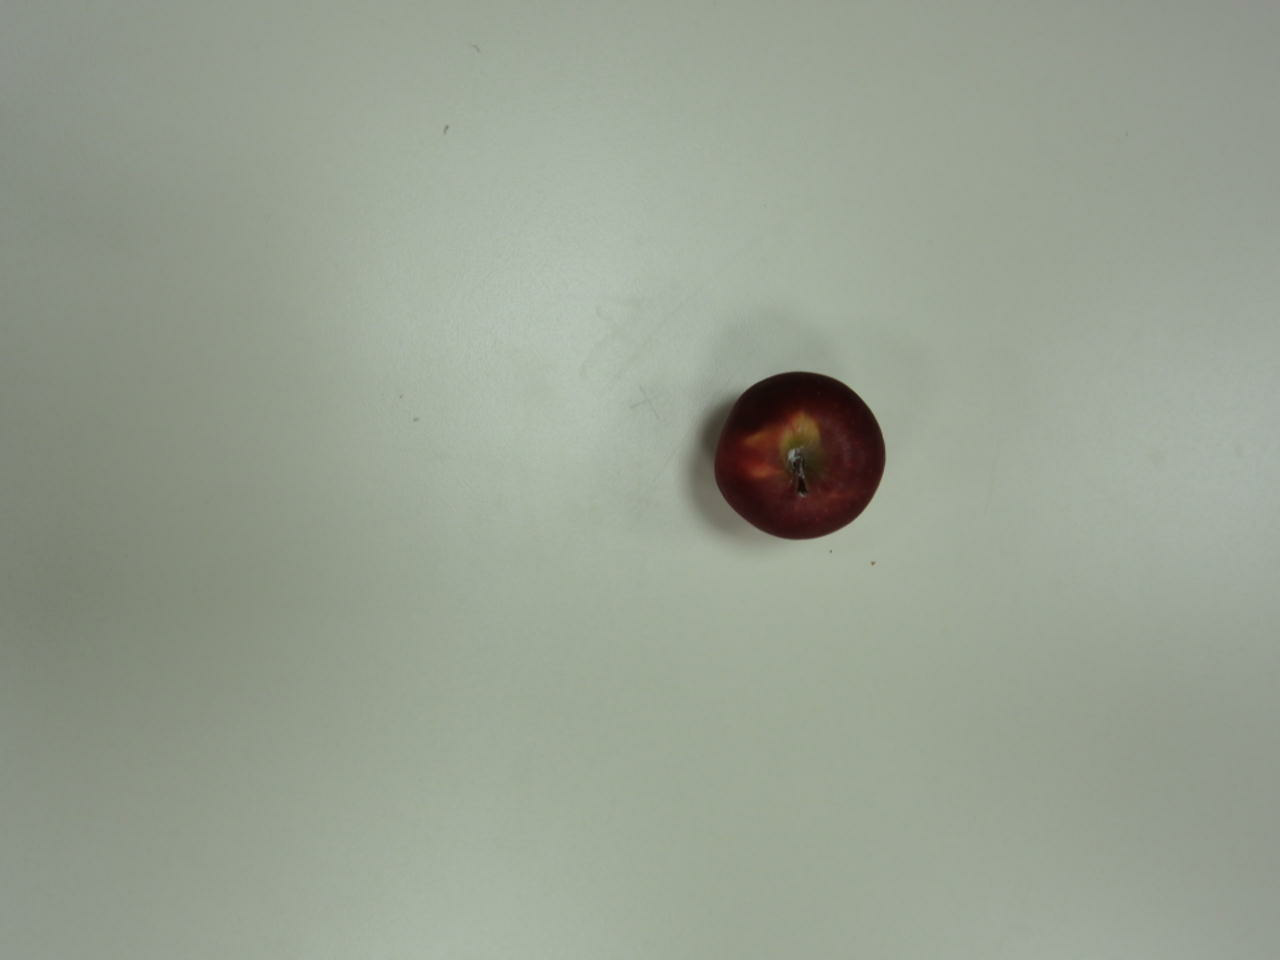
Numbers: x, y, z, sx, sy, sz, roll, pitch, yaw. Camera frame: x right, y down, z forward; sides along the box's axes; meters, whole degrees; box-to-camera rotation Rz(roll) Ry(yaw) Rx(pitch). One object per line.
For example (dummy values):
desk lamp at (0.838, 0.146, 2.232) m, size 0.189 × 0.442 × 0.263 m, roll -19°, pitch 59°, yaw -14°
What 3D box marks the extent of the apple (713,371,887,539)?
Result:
apple at (0.066, -0.010, 0.415) m, size 0.070 × 0.072 × 0.070 m, roll 0°, pitch 90°, yaw -12°
